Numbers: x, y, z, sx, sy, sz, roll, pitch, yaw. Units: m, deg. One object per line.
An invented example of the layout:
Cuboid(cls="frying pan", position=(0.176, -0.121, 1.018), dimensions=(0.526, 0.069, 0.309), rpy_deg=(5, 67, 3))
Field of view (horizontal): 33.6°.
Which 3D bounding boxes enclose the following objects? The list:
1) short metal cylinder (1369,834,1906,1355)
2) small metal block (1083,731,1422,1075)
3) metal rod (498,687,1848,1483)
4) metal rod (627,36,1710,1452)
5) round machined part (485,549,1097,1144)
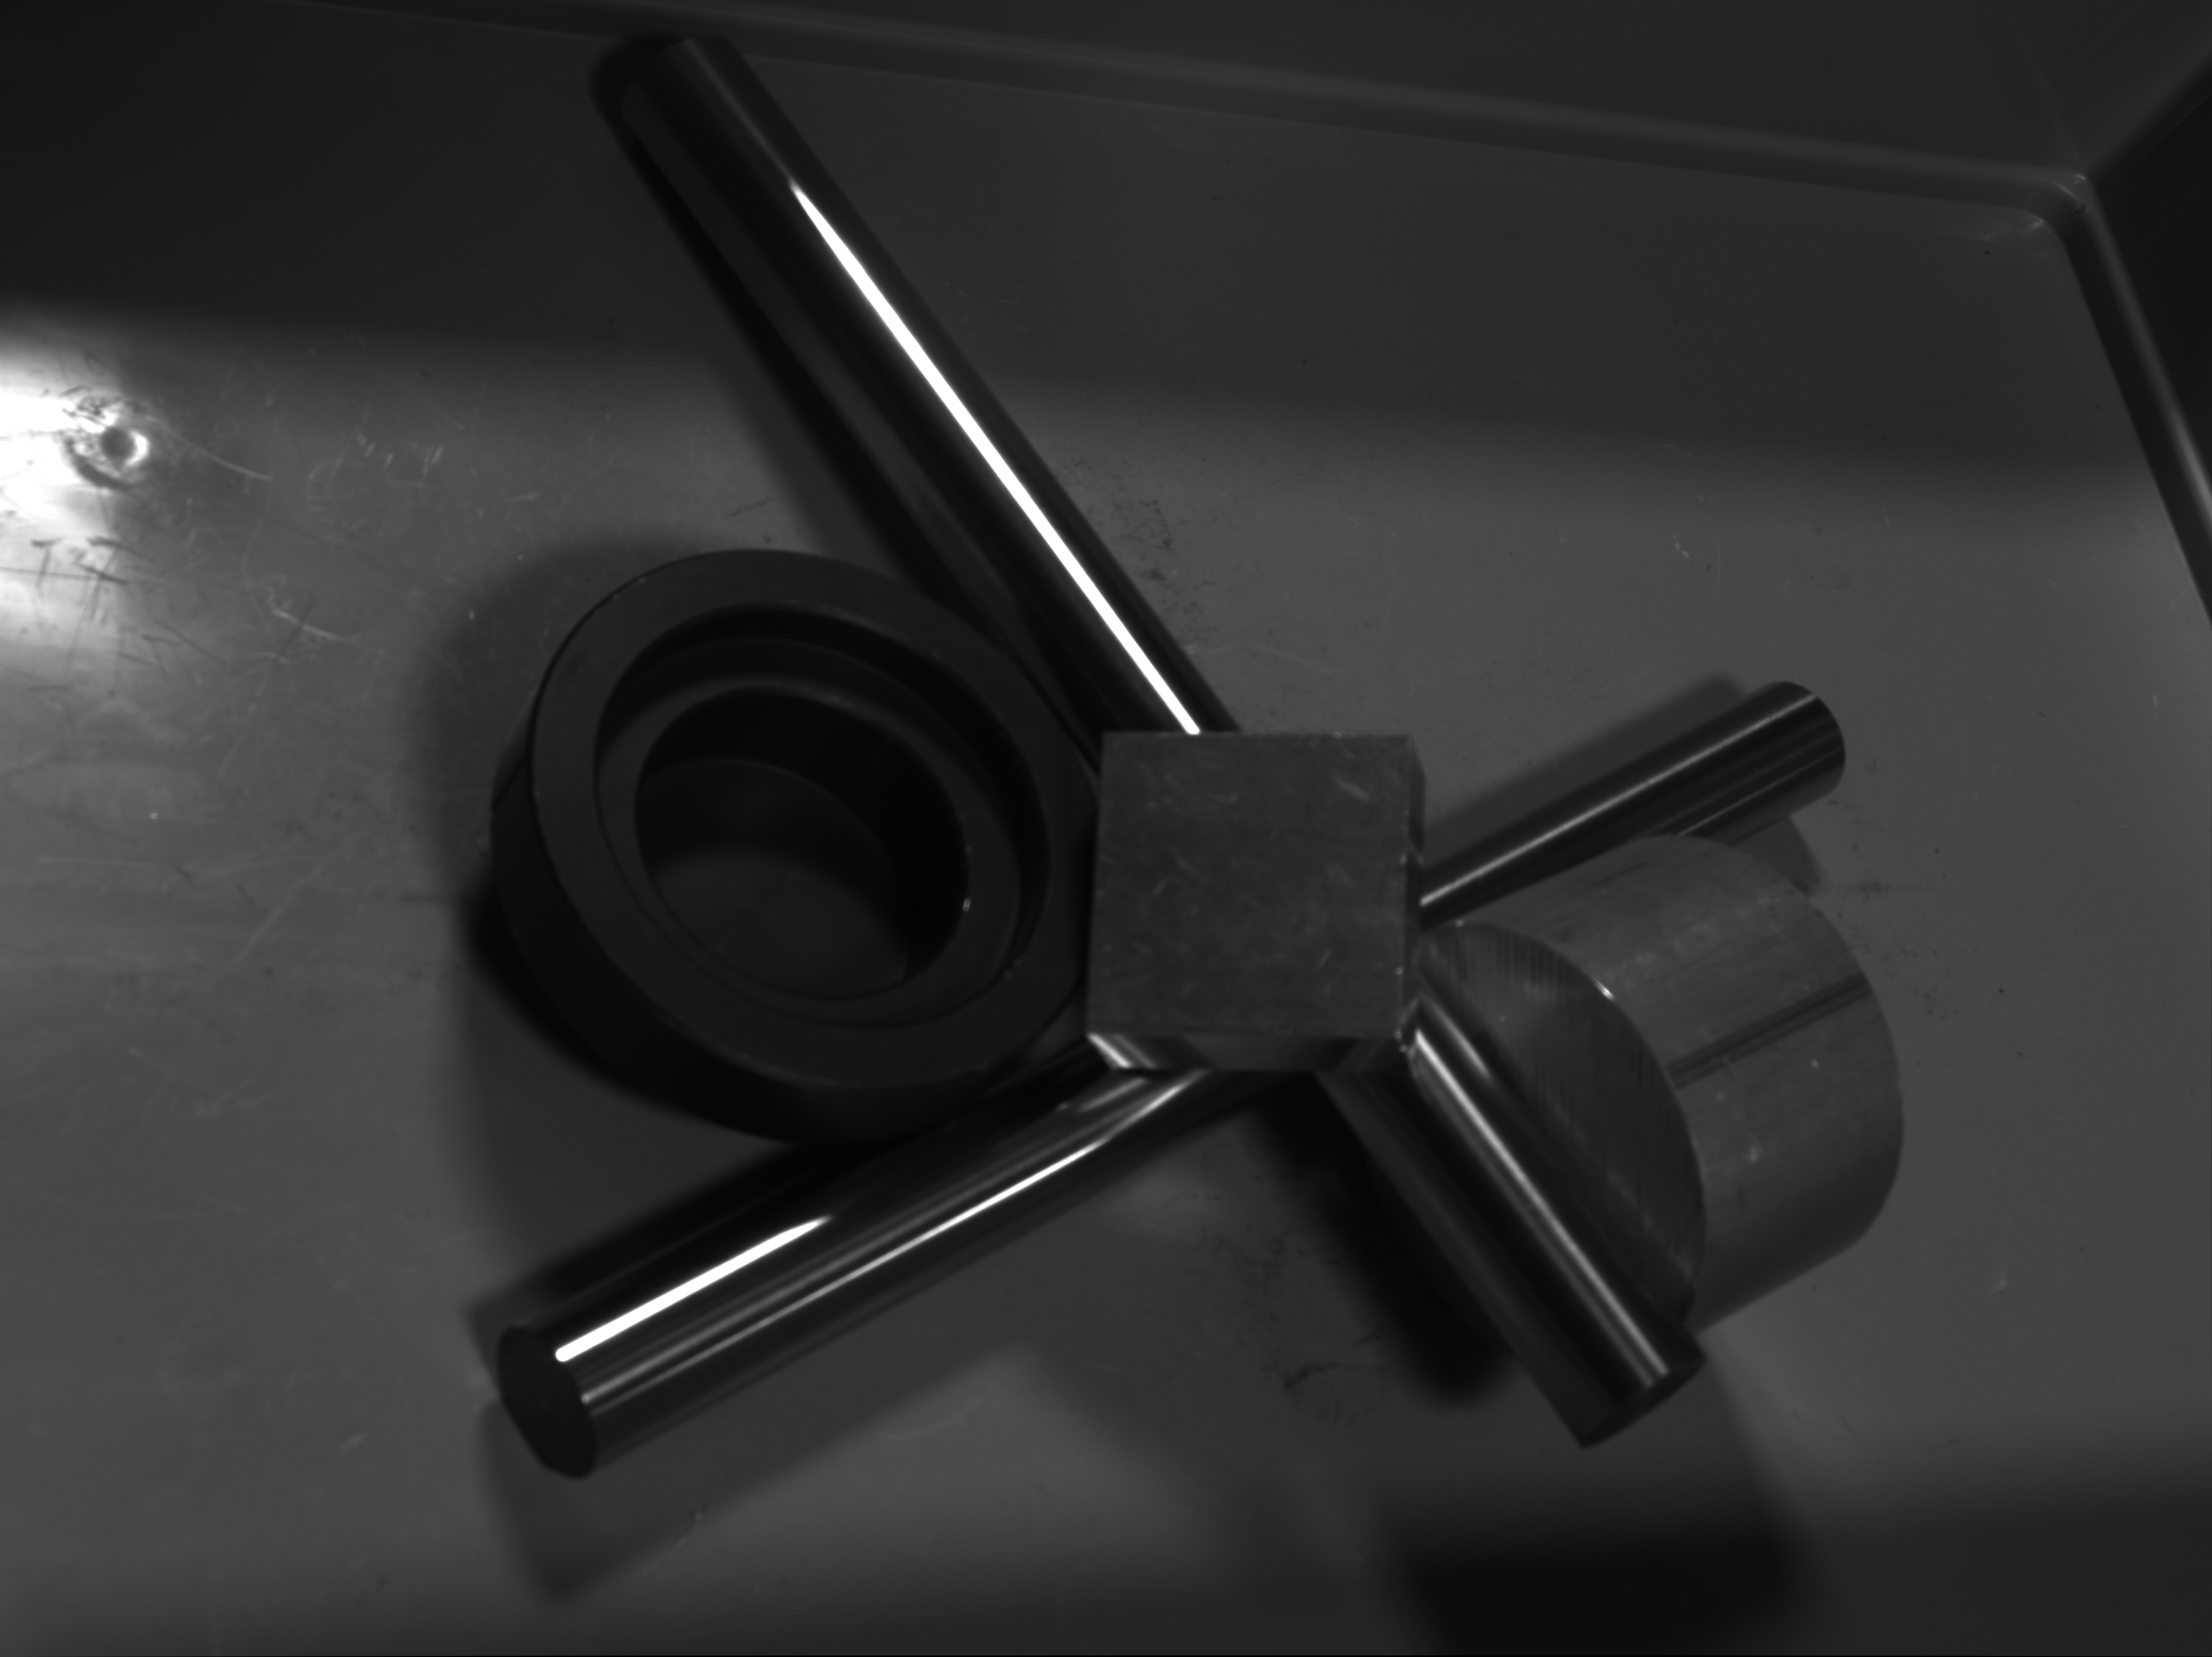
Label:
Cuboid(cls="short metal cylinder", position=(0.088, 0.046, 0.622), dimensions=(0.050, 0.080, 0.080), rpy_deg=(-21, 73, -36))
Cuboid(cls="small metal block", position=(0.025, 0.012, 0.592), dimensions=(0.050, 0.025, 0.050), rpy_deg=(1, 74, 10))
Cuboid(cls="metal rod", position=(0.027, 0.035, 0.632), dimensions=(0.301, 0.025, 0.025), rpy_deg=(-25, 75, -37))
Cuboid(cls="metal rod", position=(0.004, -0.023, 0.632), dimensions=(0.025, 0.025, 0.300), rpy_deg=(-21, 66, -36))
Cuboid(cls="round machined part", position=(-0.053, 0.007, 0.595), dimensions=(0.098, 0.042, 0.098), rpy_deg=(14, 56, -21))
